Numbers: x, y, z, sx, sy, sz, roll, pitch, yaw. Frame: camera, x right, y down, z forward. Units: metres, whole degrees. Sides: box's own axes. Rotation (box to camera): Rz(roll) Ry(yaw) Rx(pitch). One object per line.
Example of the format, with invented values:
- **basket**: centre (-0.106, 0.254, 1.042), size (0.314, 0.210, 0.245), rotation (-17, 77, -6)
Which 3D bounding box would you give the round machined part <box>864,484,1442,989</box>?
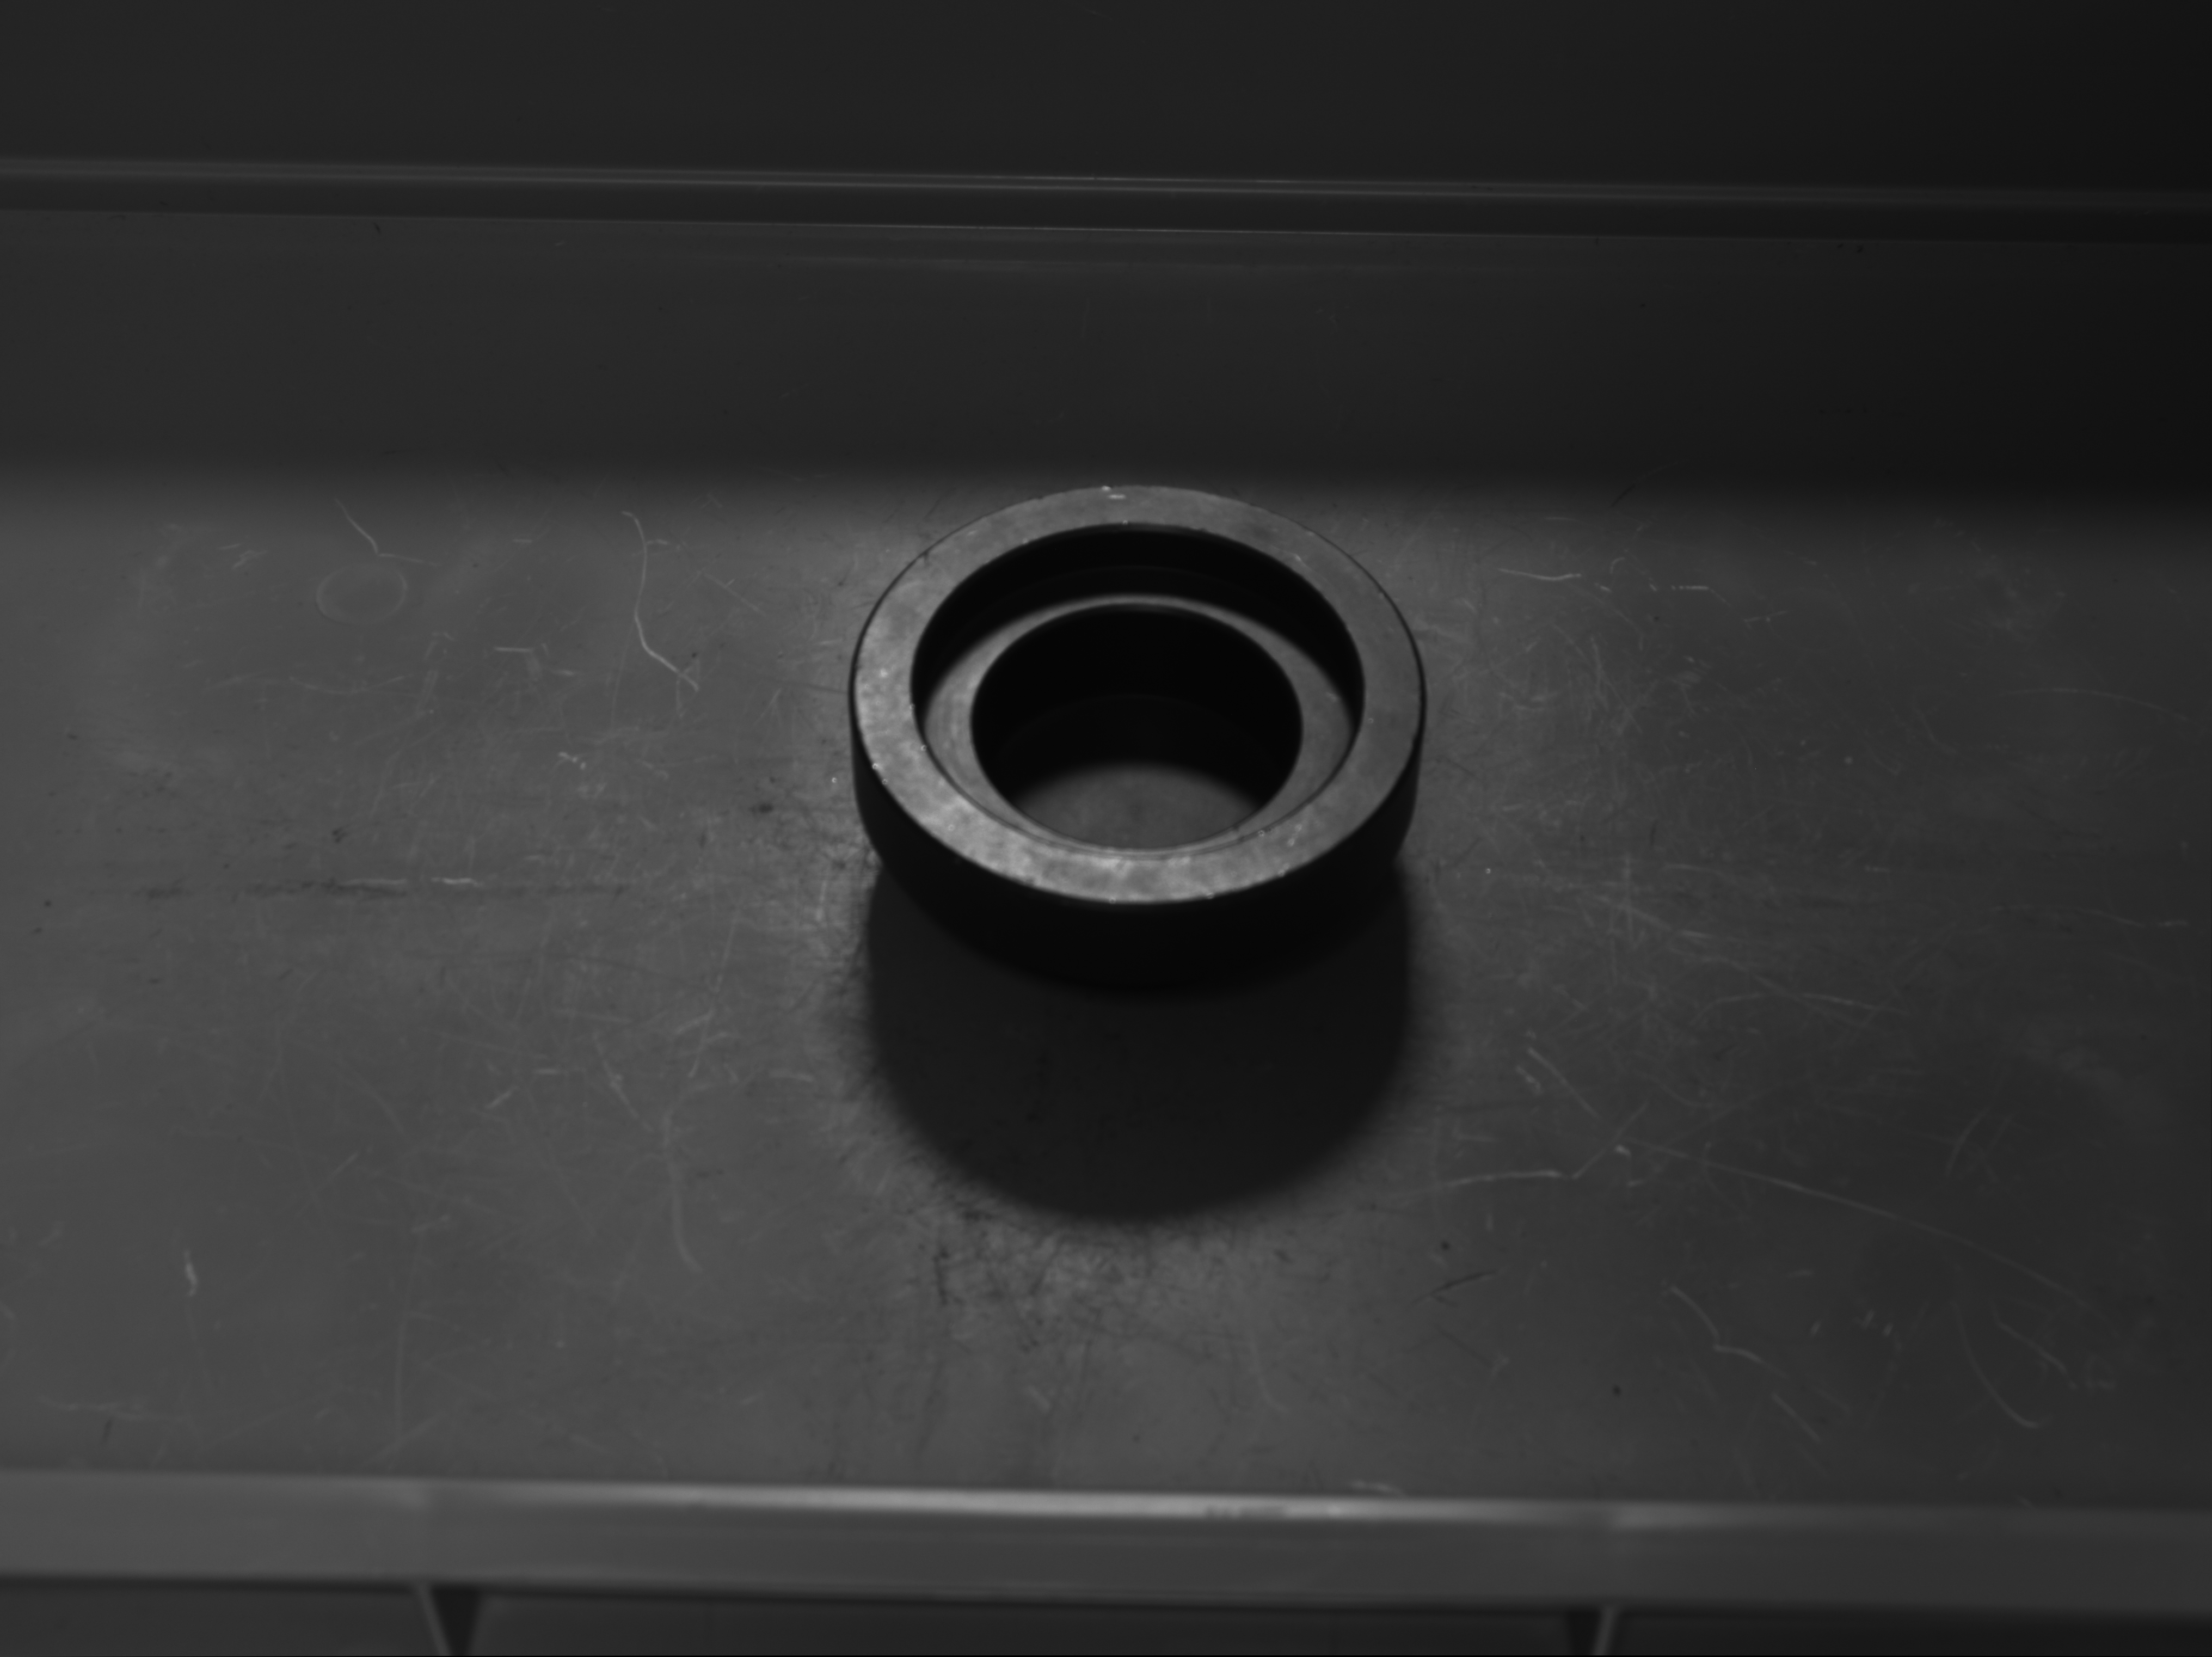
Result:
- **round machined part**: centre (0.008, -0.011, 0.636), size (0.098, 0.042, 0.098), rotation (0, 50, 0)
